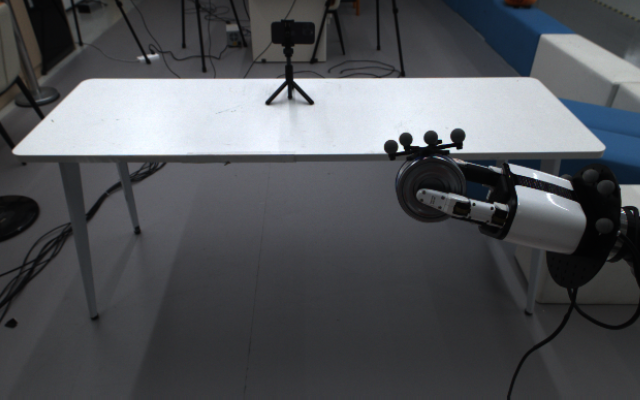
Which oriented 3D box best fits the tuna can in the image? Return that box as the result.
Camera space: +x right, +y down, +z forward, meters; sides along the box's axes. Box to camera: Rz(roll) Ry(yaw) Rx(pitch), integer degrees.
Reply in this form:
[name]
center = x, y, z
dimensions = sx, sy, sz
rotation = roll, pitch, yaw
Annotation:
[tuna can]
center = 0.139, -0.018, 0.602
dimensions = 0.085, 0.085, 0.034
rotation = 6, 18, 5
